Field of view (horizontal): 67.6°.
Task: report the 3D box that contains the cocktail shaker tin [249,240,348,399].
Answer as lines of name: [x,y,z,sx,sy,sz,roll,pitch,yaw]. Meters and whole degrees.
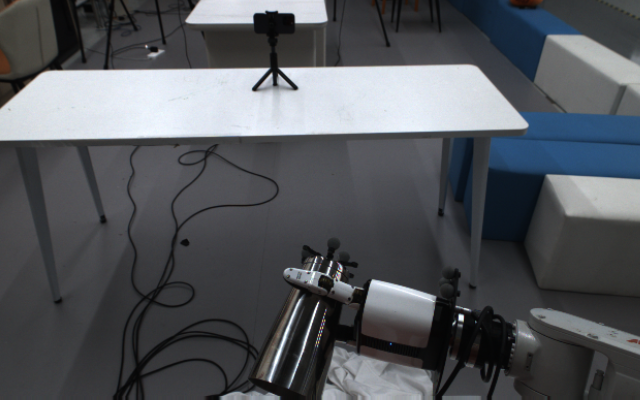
cocktail shaker tin: [-0.016,0.160,0.621,0.093,0.093,0.170,13,60,15]
